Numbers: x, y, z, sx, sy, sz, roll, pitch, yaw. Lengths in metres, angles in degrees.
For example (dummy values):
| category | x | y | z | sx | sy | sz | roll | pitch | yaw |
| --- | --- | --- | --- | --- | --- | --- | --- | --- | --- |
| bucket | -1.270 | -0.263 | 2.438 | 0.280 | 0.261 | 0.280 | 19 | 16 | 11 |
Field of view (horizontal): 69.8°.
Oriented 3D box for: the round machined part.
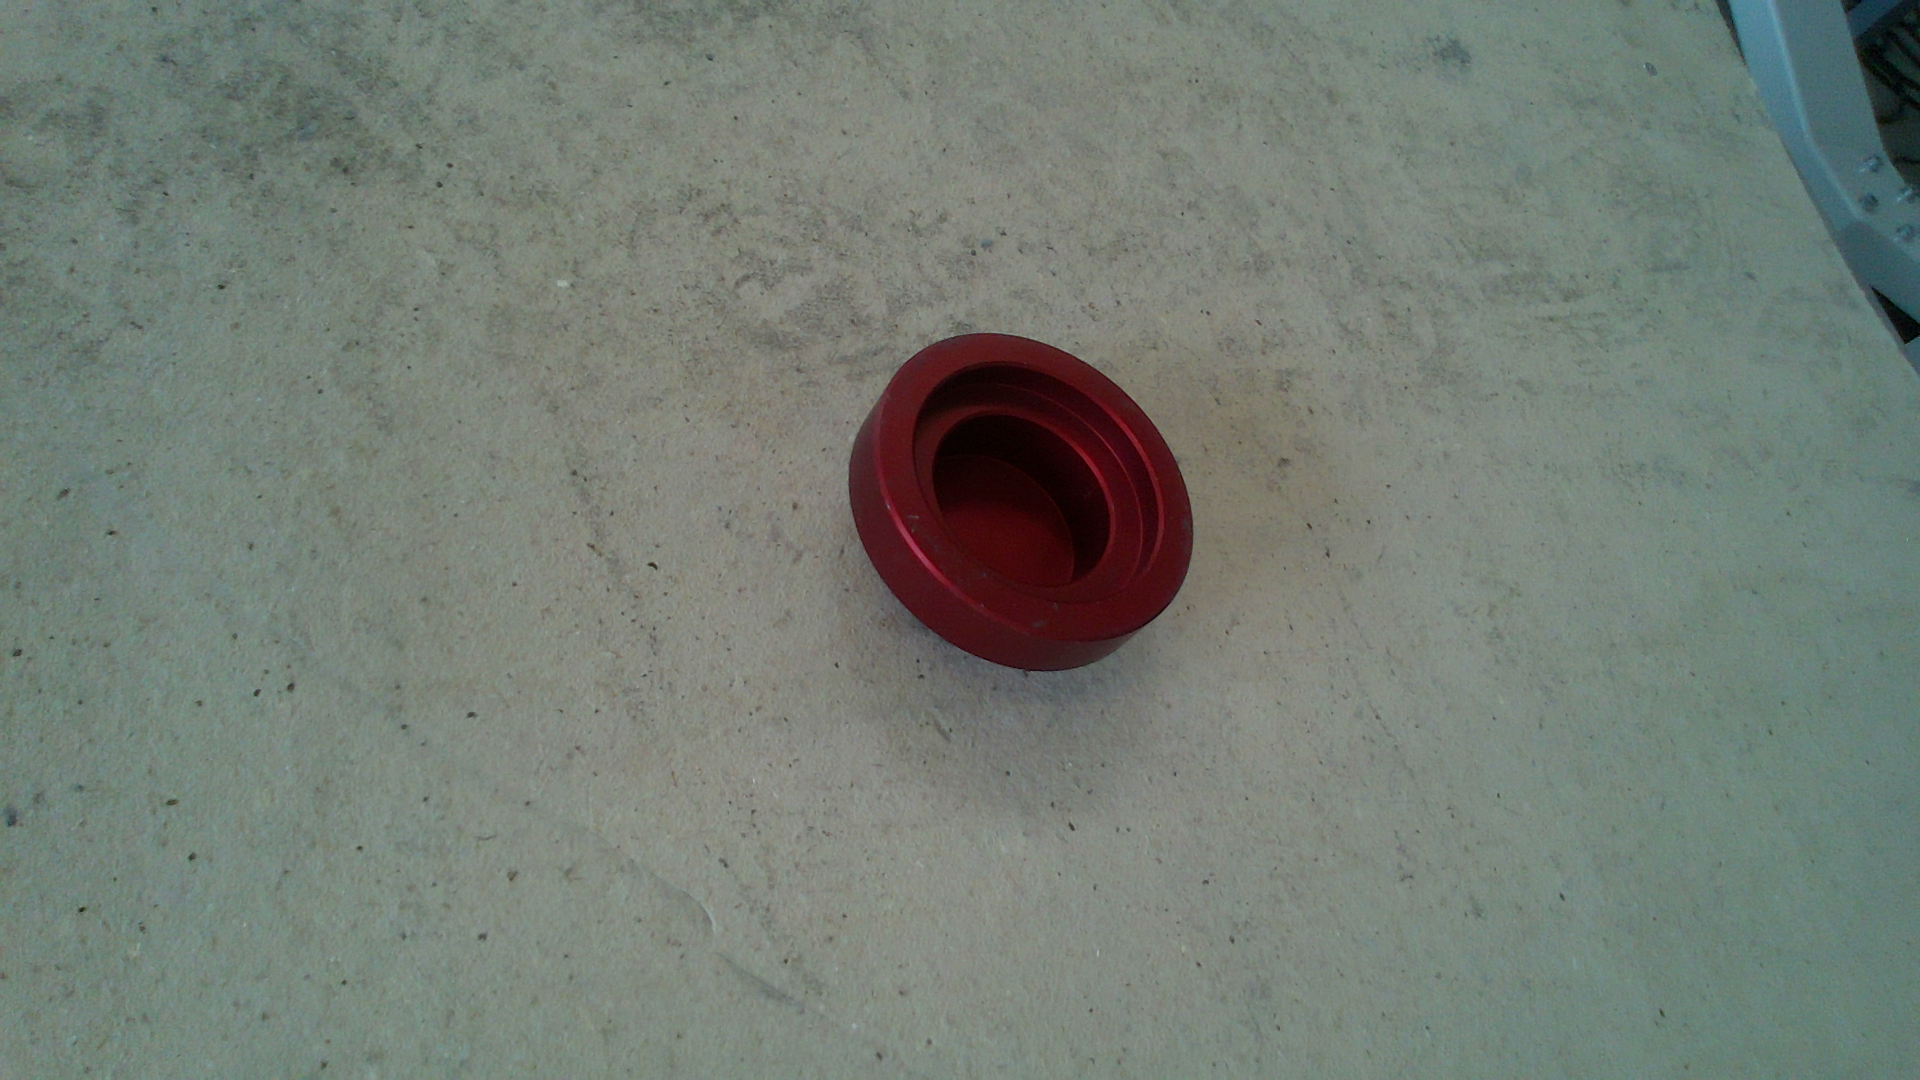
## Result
| category | x | y | z | sx | sy | sz | roll | pitch | yaw |
| --- | --- | --- | --- | --- | --- | --- | --- | --- | --- |
| round machined part | 0.014 | -0.007 | 0.391 | 0.098 | 0.042 | 0.098 | 14 | 56 | -21 |
